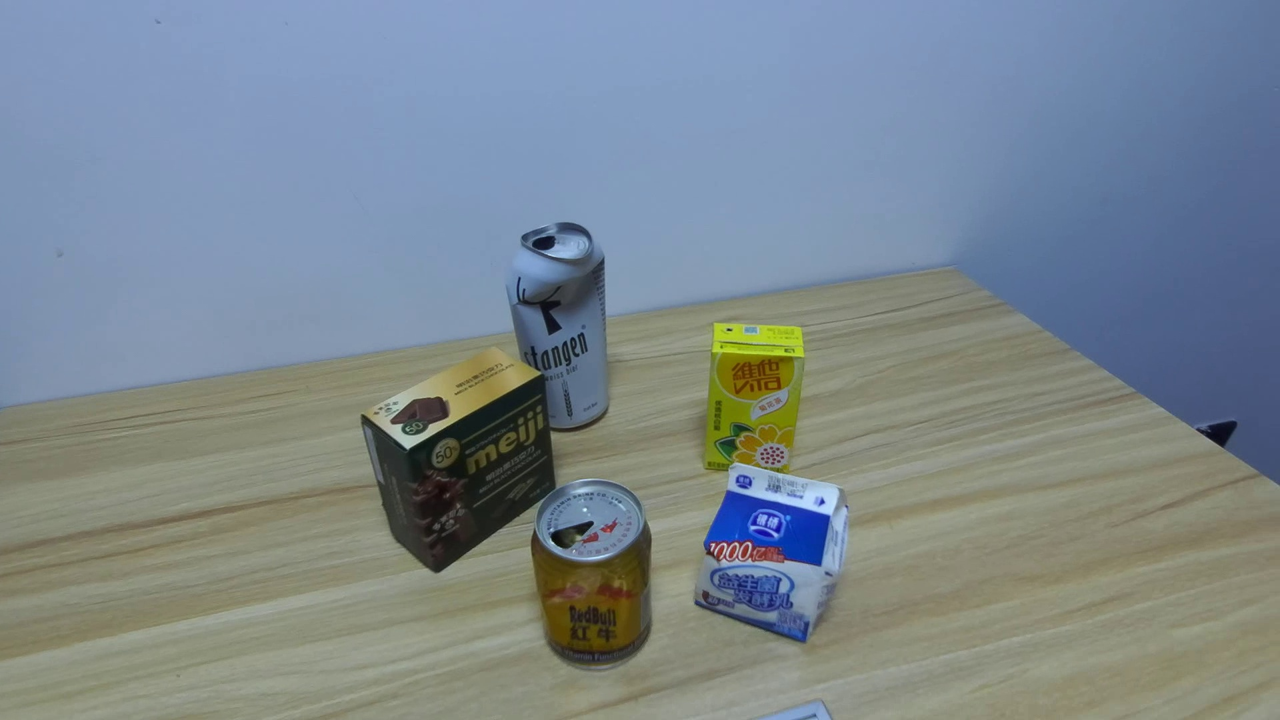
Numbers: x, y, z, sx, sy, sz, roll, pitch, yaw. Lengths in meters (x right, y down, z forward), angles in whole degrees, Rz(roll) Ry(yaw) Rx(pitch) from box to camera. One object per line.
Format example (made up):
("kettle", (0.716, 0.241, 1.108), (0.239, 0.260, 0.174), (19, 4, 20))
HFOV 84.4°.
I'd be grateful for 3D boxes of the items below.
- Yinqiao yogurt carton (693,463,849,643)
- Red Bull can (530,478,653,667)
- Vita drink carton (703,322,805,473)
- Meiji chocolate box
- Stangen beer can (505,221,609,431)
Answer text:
("Yinqiao yogurt carton", (0.083, 0.103, 0.426), (0.083, 0.093, 0.077), (14, 36, 20))
("Red Bull can", (-0.026, 0.122, 0.404), (0.069, 0.092, 0.069), (-1, 33, 1))
("Vita drink carton", (0.083, 0.029, 0.523), (0.066, 0.109, 0.043), (3, 34, 5))
("Meiji chocolate box", (-0.117, 0.066, 0.481), (0.056, 0.109, 0.110), (26, 41, 34))
("Stangen beer can", (-0.061, -0.022, 0.561), (0.066, 0.162, 0.077), (1, 33, 5))
